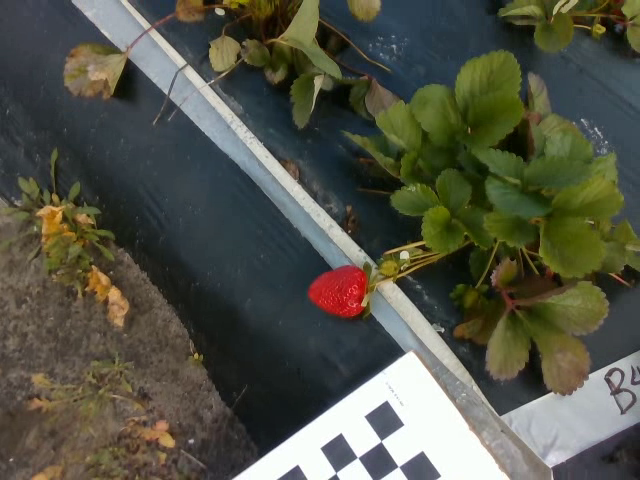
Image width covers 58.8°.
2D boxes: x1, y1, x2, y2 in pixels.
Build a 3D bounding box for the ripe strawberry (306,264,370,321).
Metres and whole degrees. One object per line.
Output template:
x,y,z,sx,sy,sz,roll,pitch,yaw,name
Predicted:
0.016,0.040,0.439,0.052,0.048,0.030,4,-8,-10,ripe strawberry
